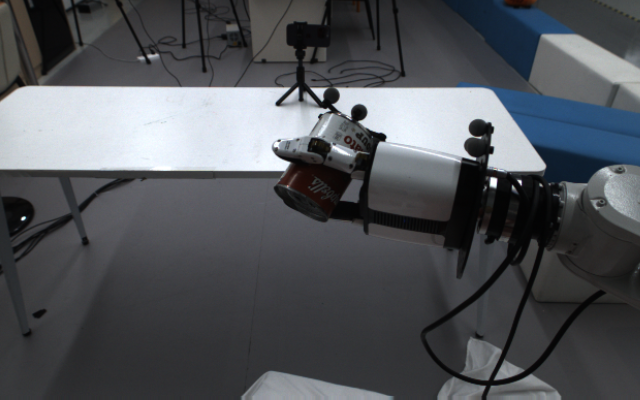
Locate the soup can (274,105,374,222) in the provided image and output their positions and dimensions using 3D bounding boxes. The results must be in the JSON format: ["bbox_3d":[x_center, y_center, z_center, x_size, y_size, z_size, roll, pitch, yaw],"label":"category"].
[{"bbox_3d":[0.007,-0.036,0.522,0.067,0.067,0.101,24,73,28],"label":"soup can"}]
